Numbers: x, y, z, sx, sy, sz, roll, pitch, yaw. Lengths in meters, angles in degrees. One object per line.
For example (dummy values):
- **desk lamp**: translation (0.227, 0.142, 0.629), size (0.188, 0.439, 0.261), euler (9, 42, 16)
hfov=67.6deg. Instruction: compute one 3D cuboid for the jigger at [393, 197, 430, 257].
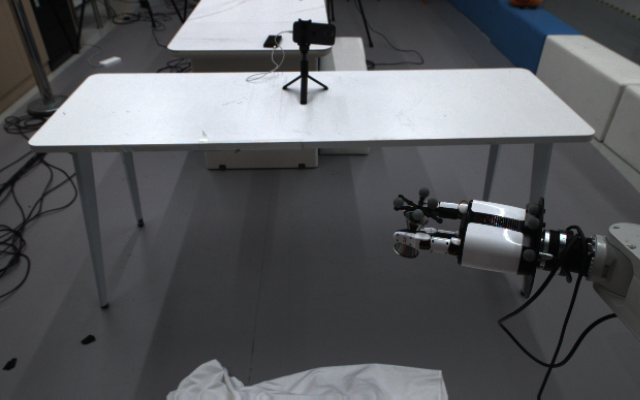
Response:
- **jigger**: translation (0.151, 0.056, 0.806), size (0.043, 0.071, 0.043), euler (9, 30, -5)
